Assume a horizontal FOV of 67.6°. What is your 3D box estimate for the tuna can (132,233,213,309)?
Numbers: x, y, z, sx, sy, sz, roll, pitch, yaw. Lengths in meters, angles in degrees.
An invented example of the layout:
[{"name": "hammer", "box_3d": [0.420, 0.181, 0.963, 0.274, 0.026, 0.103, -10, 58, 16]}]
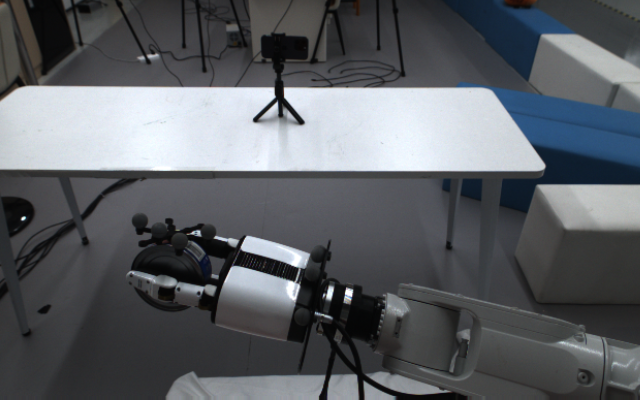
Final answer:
[{"name": "tuna can", "box_3d": [-0.170, 0.085, 0.563, 0.085, 0.085, 0.034, 5, 18, 5]}]
